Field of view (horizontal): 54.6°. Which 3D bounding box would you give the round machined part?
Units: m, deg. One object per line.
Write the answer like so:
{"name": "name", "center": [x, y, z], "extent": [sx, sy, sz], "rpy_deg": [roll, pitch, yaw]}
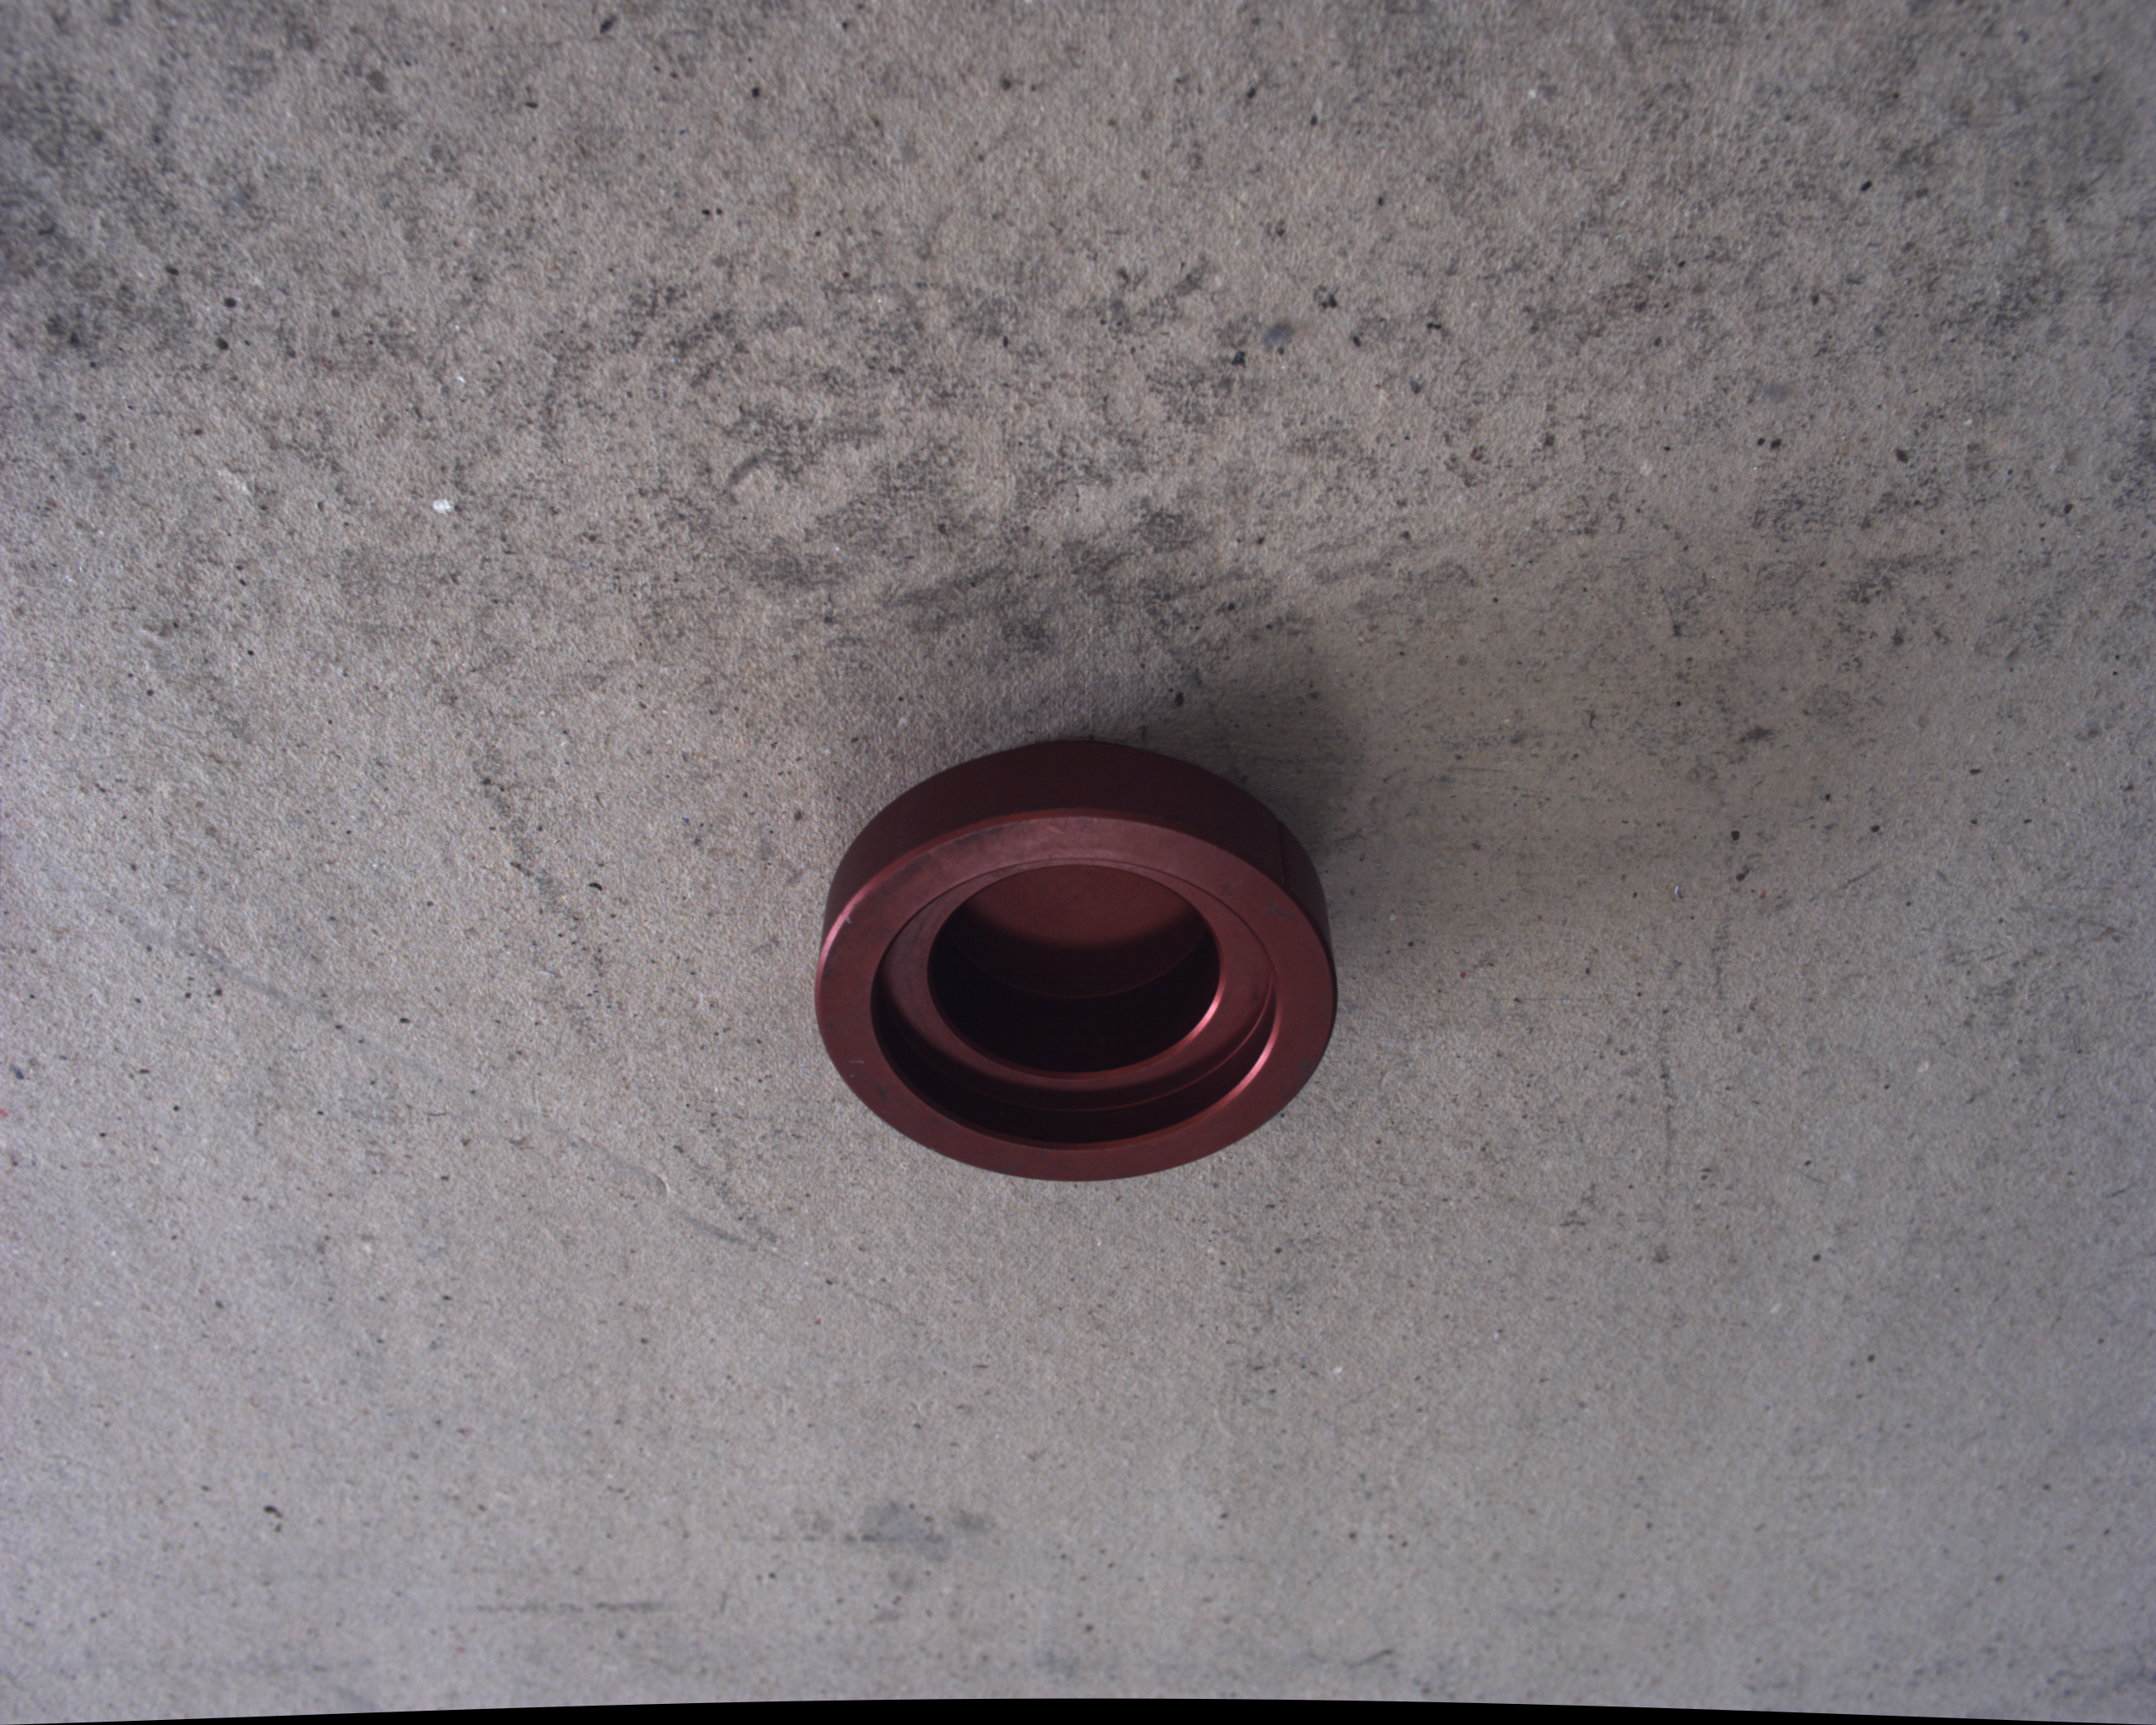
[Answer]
{"name": "round machined part", "center": [0.000, 0.015, 0.410], "extent": [0.099, 0.042, 0.097], "rpy_deg": [0, 130, 0]}
